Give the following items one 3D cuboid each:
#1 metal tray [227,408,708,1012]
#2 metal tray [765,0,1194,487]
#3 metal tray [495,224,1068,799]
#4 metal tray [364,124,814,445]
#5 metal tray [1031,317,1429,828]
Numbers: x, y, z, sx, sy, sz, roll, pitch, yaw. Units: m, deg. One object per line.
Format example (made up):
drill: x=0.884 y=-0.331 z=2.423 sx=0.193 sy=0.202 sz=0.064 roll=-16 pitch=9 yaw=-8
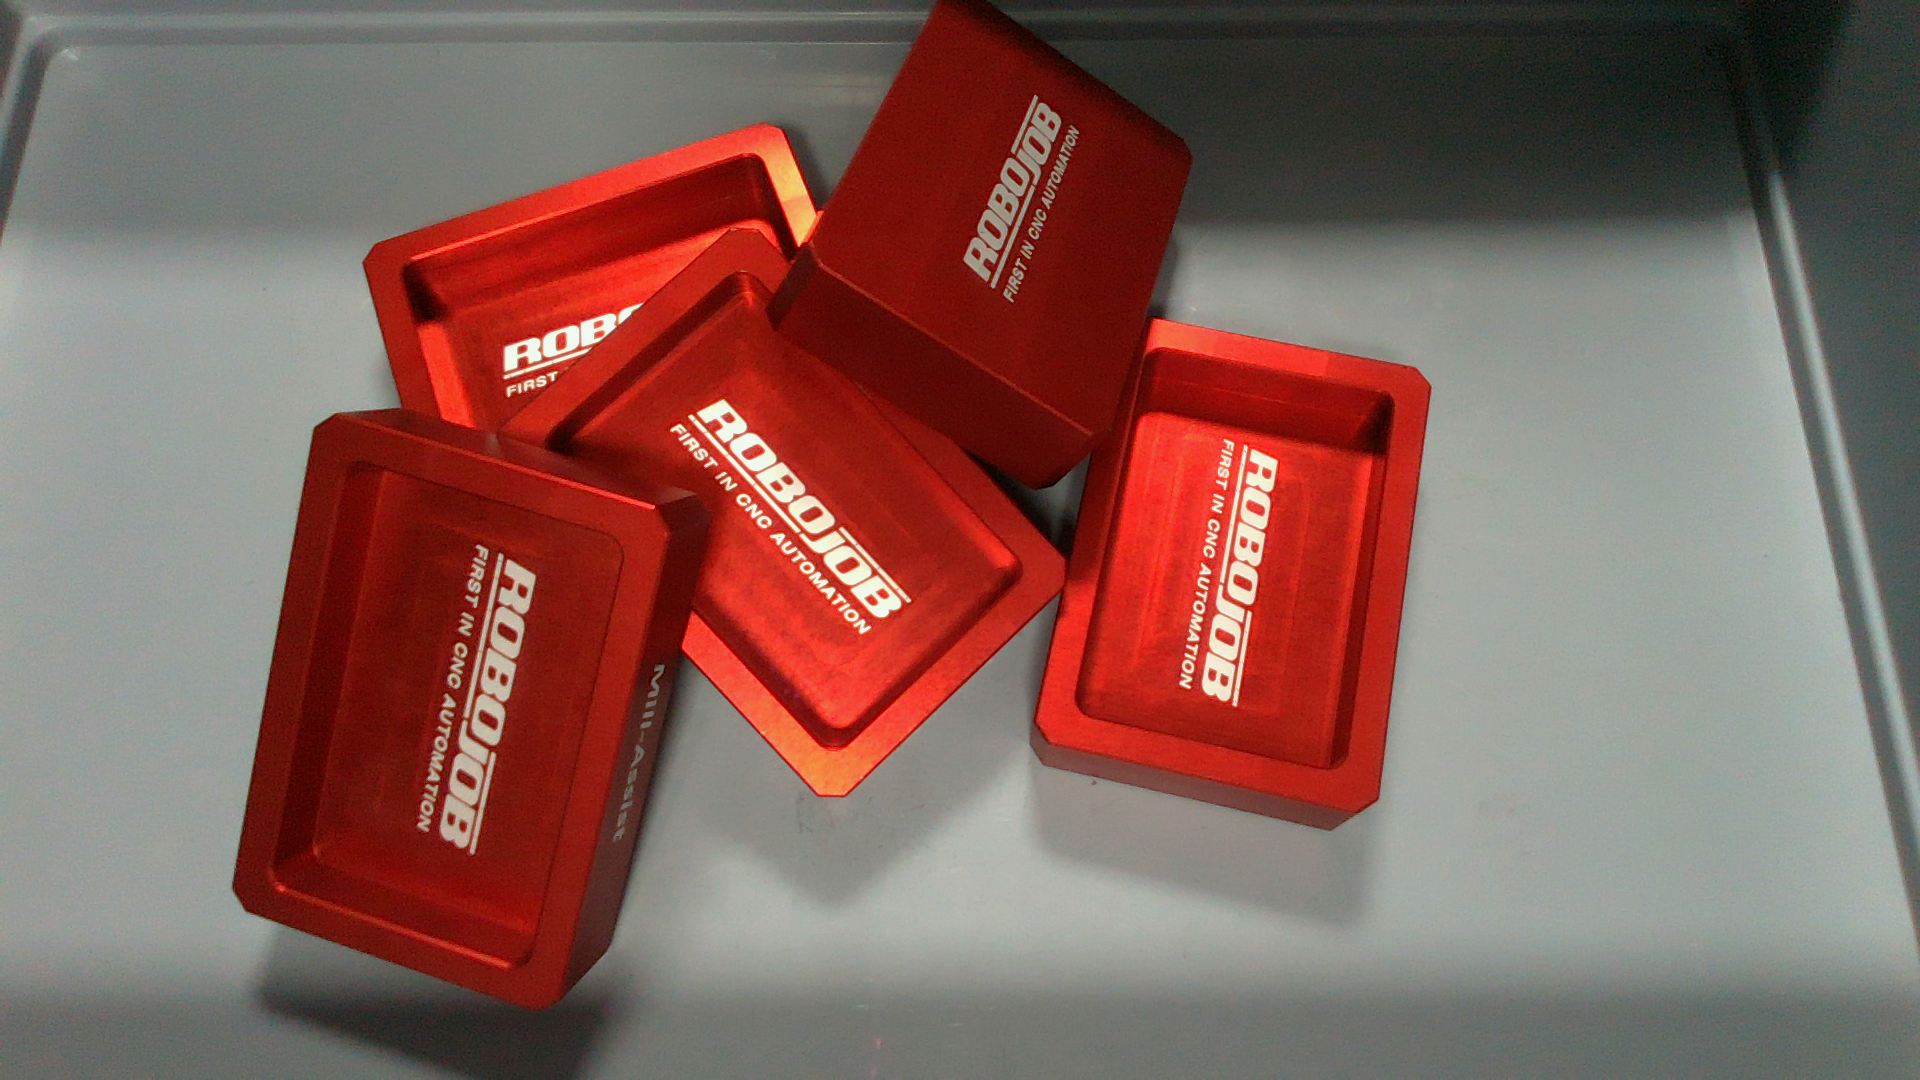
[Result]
metal tray: x=-0.123 y=0.041 z=0.344 sx=0.090 sy=0.030 sz=0.130 roll=16 pitch=99 yaw=6
metal tray: x=0.011 y=-0.089 z=0.386 sx=0.090 sy=0.030 sz=0.130 roll=30 pitch=51 yaw=-13
metal tray: x=-0.046 y=-0.007 z=0.370 sx=0.090 sy=0.030 sz=0.130 roll=-43 pitch=90 yaw=-7
metal tray: x=-0.101 y=-0.063 z=0.413 sx=0.130 sy=0.030 sz=0.090 roll=-20 pitch=71 yaw=-7
metal tray: x=0.077 y=0.007 z=0.388 sx=0.090 sy=0.030 sz=0.130 roll=12 pitch=70 yaw=4
